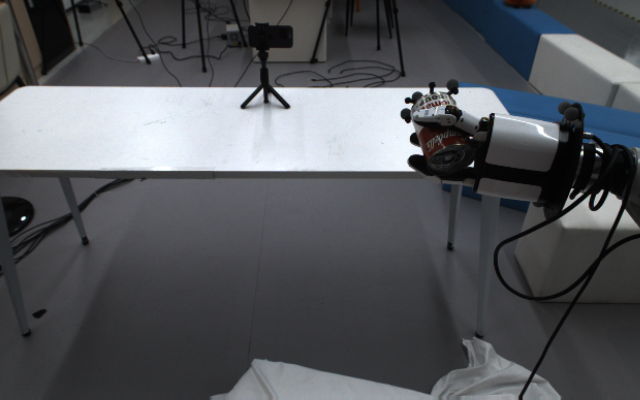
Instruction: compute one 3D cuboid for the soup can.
[{"bbox_3d":[0.174,-0.096,0.692,0.067,0.067,0.101,-5,57,-10],"label":"soup can"}]
